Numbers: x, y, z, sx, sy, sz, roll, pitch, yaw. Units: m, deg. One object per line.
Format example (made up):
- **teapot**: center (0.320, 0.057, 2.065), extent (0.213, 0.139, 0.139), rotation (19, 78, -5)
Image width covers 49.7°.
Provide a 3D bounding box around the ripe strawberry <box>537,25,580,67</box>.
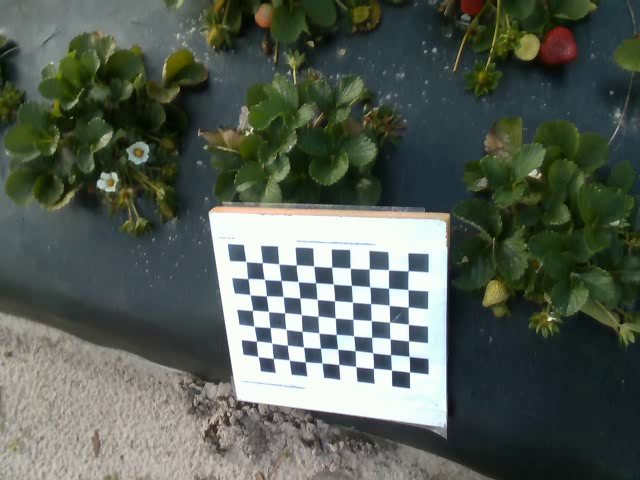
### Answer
- **ripe strawberry**: center (0.313, -0.245, 0.894), extent (0.048, 0.051, 0.055), rotation (14, 34, -25)
